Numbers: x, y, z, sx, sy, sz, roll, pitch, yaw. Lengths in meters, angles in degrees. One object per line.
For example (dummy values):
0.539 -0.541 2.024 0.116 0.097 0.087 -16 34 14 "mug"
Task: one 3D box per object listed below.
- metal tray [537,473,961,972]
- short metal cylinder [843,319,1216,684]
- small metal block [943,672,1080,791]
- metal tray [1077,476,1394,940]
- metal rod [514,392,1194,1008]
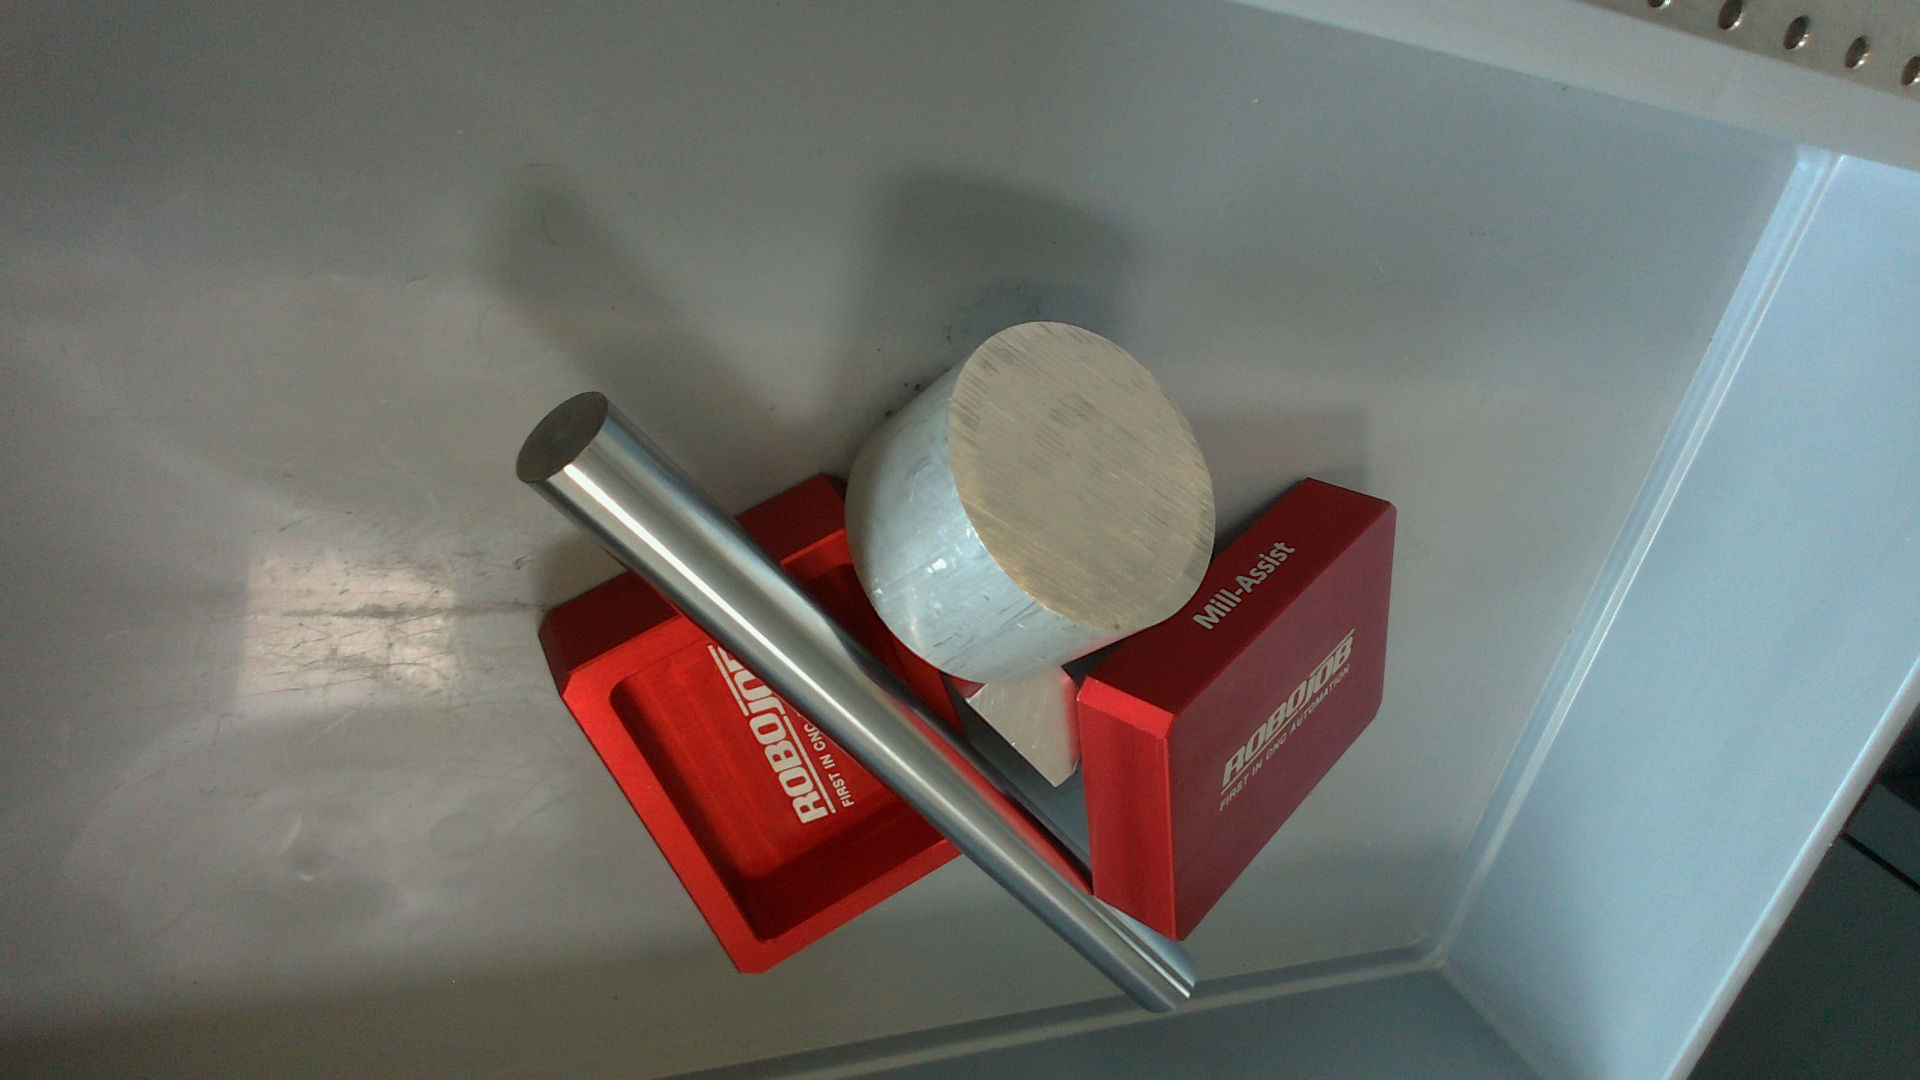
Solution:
-0.049 0.056 0.392 0.090 0.030 0.130 -28 128 -11 "metal tray"
0.018 -0.008 0.349 0.080 0.080 0.050 8 156 -32 "short metal cylinder"
0.014 0.038 0.402 0.025 0.050 0.050 -42 129 1 "small metal block"
0.090 0.049 0.430 0.130 0.030 0.090 -37 134 -36 "metal tray"
-0.007 0.065 0.385 0.025 0.025 0.301 -42 130 0 "metal rod"
